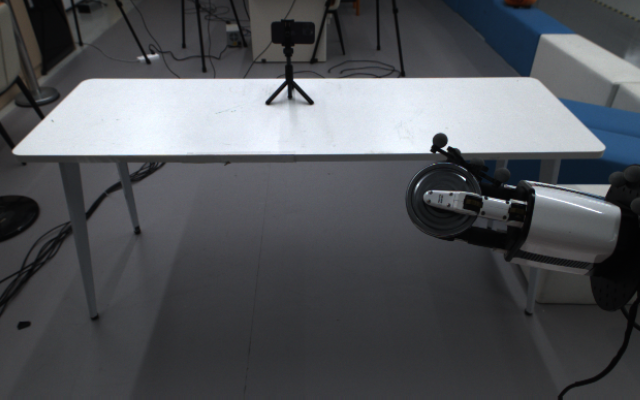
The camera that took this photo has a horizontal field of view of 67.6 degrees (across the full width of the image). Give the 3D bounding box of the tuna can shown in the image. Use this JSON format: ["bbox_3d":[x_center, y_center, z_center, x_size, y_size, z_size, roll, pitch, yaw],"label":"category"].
[{"bbox_3d":[0.146,0.006,0.556,0.085,0.085,0.034,13,-4,15],"label":"tuna can"}]
